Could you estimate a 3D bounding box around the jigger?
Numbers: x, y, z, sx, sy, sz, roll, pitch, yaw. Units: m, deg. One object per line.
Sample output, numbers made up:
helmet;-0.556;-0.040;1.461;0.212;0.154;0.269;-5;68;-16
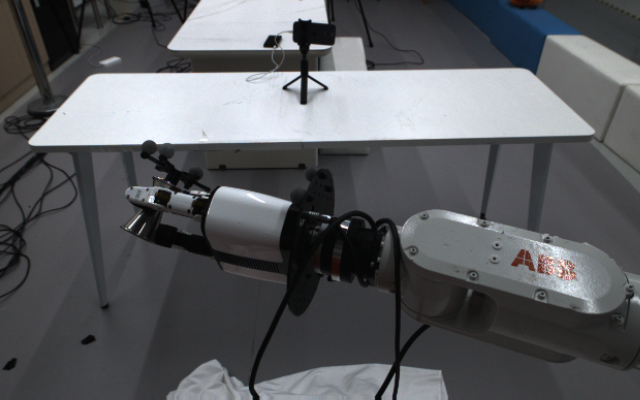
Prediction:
jigger;-0.191;0.010;0.552;0.043;0.043;0.071;20;74;24
